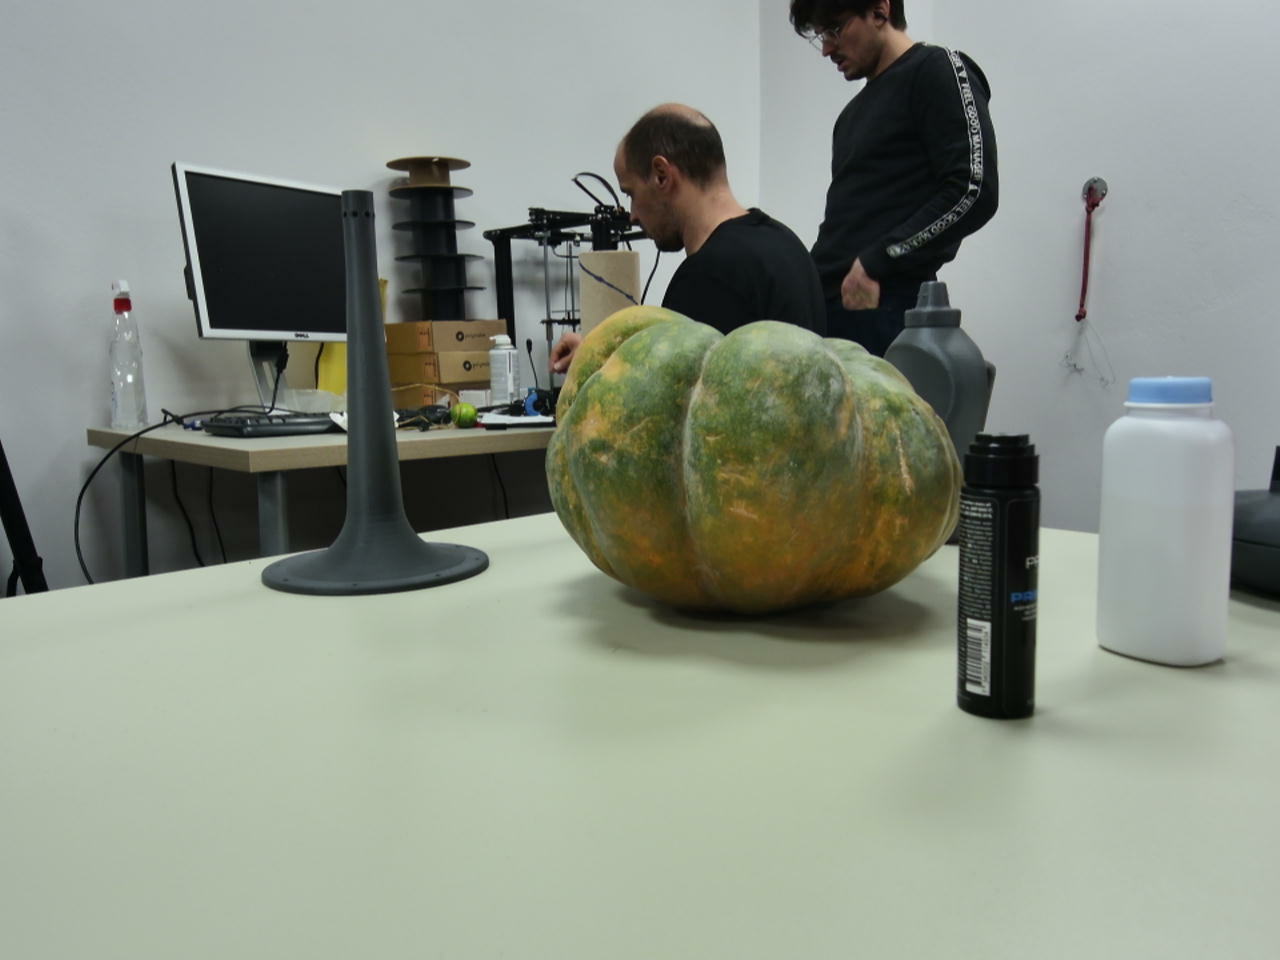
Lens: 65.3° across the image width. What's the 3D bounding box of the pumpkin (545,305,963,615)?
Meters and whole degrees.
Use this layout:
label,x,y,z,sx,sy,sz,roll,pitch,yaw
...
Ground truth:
label,x,y,z,sx,sy,sz,roll,pitch,yaw
pumpkin,0.065,-0.015,0.593,0.237,0.173,0.270,0,5,-5
